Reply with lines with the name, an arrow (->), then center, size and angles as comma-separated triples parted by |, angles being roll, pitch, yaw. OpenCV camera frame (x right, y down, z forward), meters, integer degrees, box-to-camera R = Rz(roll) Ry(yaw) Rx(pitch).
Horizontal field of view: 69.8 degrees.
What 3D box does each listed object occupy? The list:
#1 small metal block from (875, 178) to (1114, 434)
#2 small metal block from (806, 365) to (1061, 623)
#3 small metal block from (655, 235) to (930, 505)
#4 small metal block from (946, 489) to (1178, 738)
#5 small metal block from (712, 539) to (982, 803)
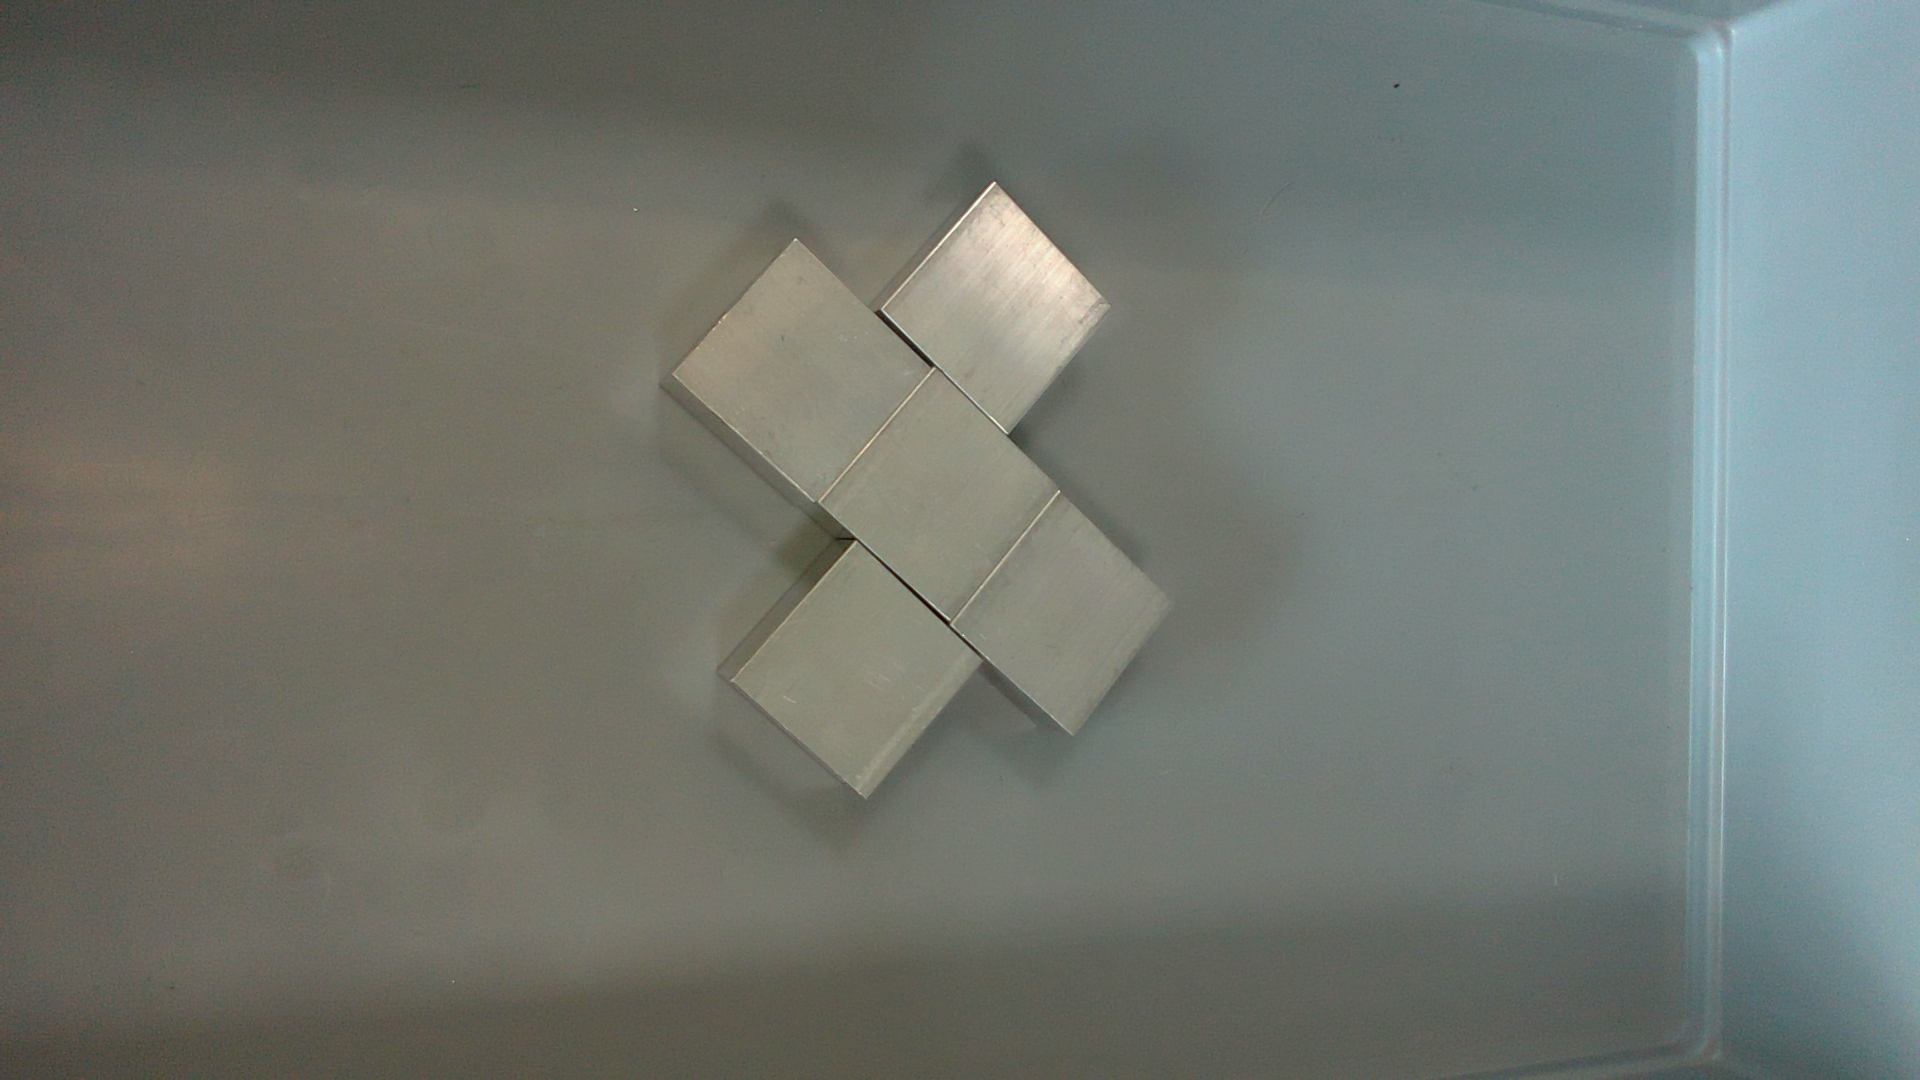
small metal block -> 0.007, -0.065, 0.394 | 0.050, 0.025, 0.050 | 43, 76, -15
small metal block -> -0.009, -0.013, 0.388 | 0.050, 0.025, 0.050 | 43, 77, -15
small metal block -> -0.046, -0.045, 0.375 | 0.050, 0.025, 0.050 | 43, 77, -15
small metal block -> 0.026, 0.021, 0.401 | 0.050, 0.025, 0.050 | 43, 77, -15
small metal block -> -0.031, 0.035, 0.381 | 0.050, 0.025, 0.050 | 45, 77, -15
